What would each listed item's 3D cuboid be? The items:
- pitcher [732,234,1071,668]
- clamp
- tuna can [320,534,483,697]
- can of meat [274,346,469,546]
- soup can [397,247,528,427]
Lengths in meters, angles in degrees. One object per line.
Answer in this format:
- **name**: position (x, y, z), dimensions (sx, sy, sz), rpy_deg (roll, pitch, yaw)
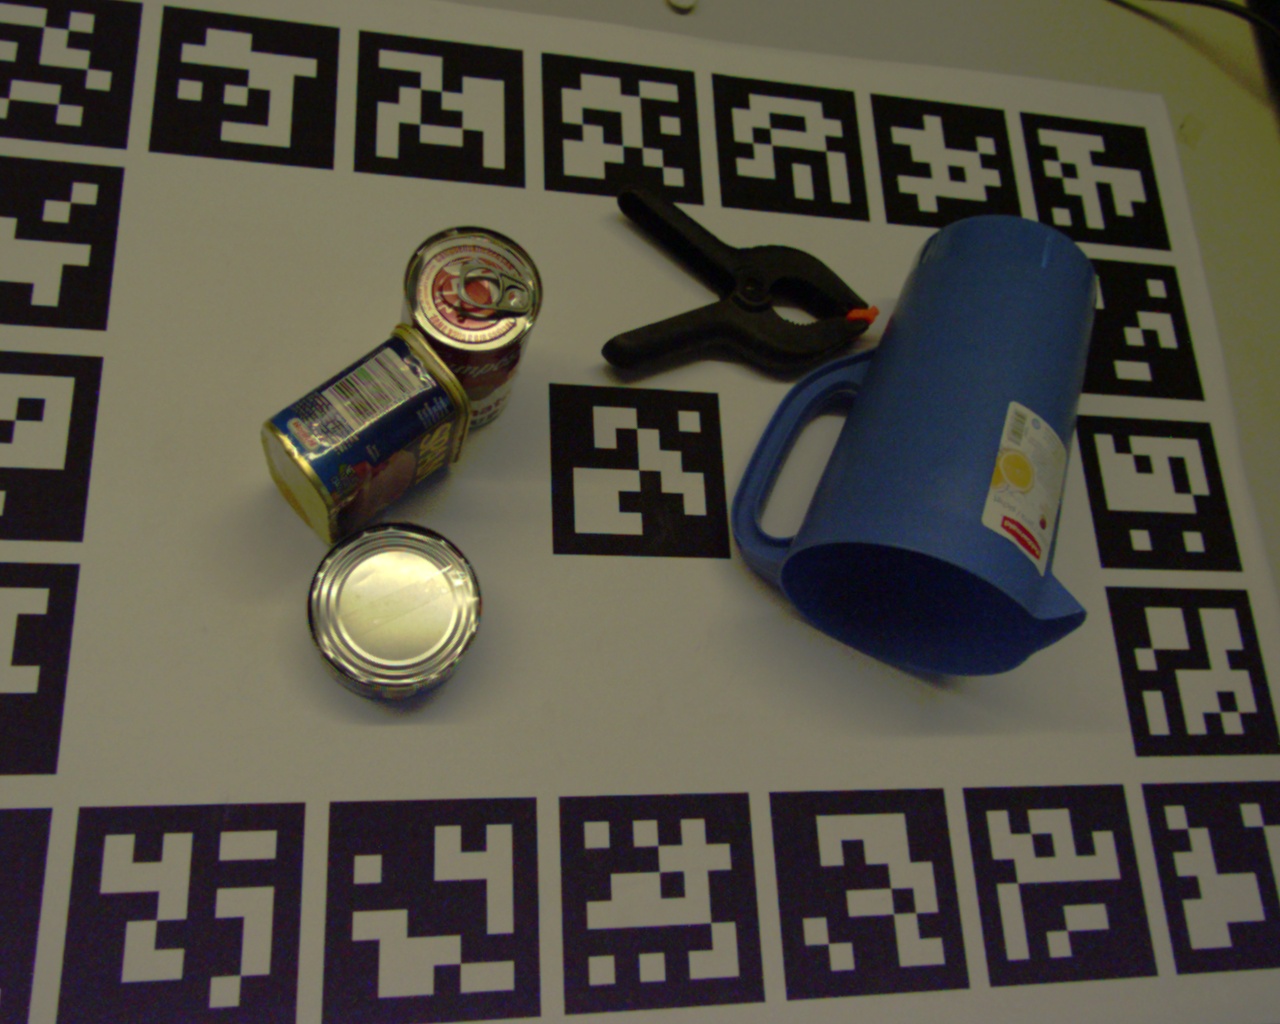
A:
- **pitcher**: position (0.166, -0.044, 0.668), dimensions (0.190, 0.132, 0.242), rpy_deg (13, 61, 14)
- **clamp**: position (0.036, -0.134, 0.733), dimensions (0.164, 0.037, 0.122), rpy_deg (4, 67, -16)
- **tuna can**: position (-0.130, 0.057, 0.621), dimensions (0.085, 0.034, 0.086), rpy_deg (3, 73, -13)
- **can of meat**: position (-0.143, -0.031, 0.607), dimensions (0.083, 0.102, 0.058), rpy_deg (-36, 85, -18)
- **soup can**: position (-0.102, -0.095, 0.643), dimensions (0.067, 0.102, 0.068), rpy_deg (3, 74, -11)
